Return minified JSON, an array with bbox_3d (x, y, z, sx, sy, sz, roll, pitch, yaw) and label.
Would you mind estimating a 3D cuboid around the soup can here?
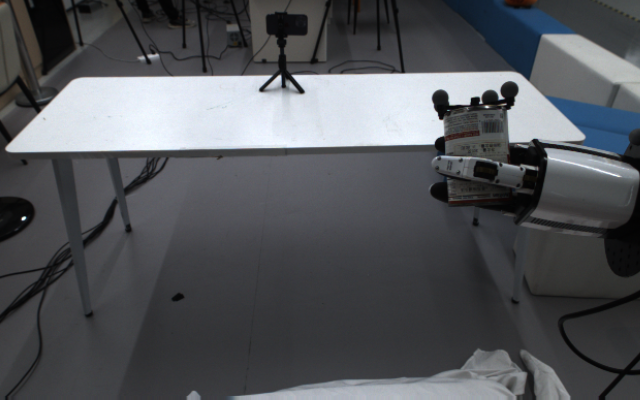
[{"bbox_3d":[0.172,-0.045,0.522,0.067,0.101,0.067,-3,-1,0],"label":"soup can"}]
